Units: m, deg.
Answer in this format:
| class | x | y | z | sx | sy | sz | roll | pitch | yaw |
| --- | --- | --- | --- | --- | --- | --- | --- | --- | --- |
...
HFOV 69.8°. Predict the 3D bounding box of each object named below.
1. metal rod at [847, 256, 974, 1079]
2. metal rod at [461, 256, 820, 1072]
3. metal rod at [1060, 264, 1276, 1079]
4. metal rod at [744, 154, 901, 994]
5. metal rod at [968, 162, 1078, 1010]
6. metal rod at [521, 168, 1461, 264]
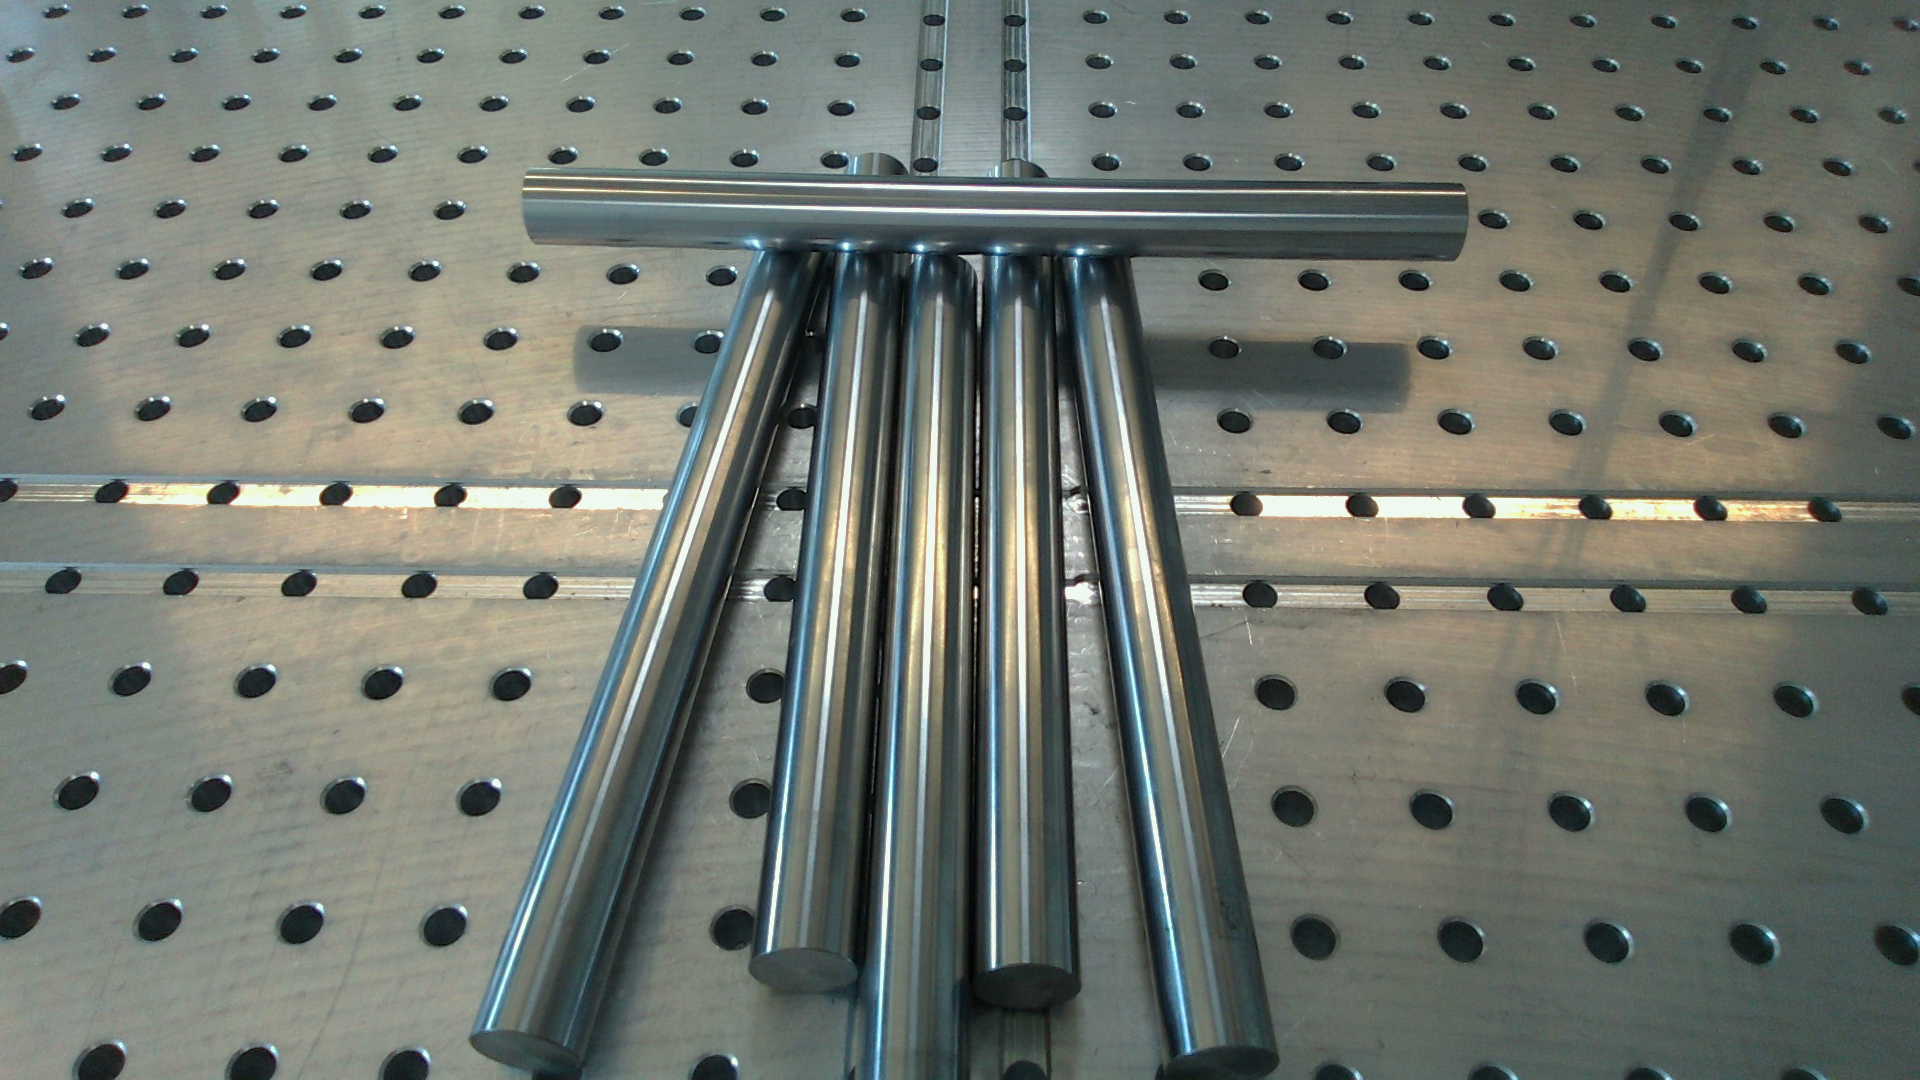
| class | x | y | z | sx | sy | sz | roll | pitch | yaw |
| --- | --- | --- | --- | --- | --- | --- | --- | --- | --- |
| metal rod | -0.010 | 0.026 | 0.372 | 0.025 | 0.025 | 0.300 | 1 | 50 | 1 |
| metal rod | -0.076 | -0.003 | 0.395 | 0.025 | 0.025 | 0.300 | 6 | 50 | 5 |
| metal rod | 0.050 | 0.000 | 0.395 | 0.025 | 0.025 | 0.300 | -2 | 50 | -1 |
| metal rod | -0.034 | -0.016 | 0.409 | 0.025 | 0.025 | 0.300 | 1 | 50 | 1 |
| metal rod | 0.017 | -0.013 | 0.407 | 0.025 | 0.025 | 0.300 | 1 | 50 | 1 |
| metal rod | 0.009 | -0.106 | 0.451 | 0.300 | 0.025 | 0.025 | 1 | 50 | 1 |
